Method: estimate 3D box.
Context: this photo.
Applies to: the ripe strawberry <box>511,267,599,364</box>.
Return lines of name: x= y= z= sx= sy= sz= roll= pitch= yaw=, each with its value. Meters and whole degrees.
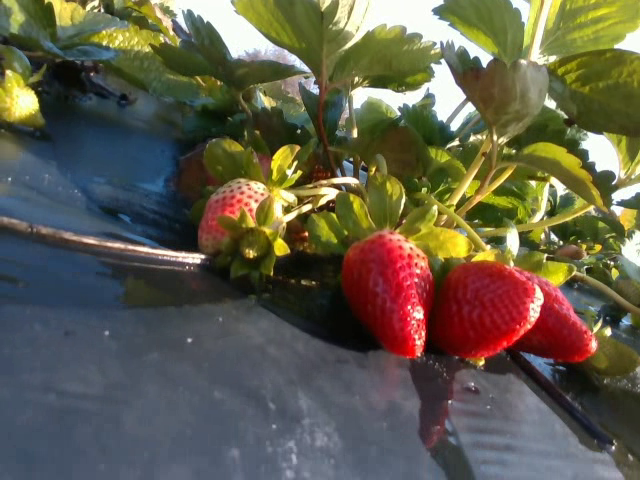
ripe strawberry: x=0.073 y=0.028 z=0.197 sx=0.035 sy=0.034 sz=0.041 roll=14 pitch=3 yaw=-27

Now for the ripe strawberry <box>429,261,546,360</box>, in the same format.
ripe strawberry: x=0.050 y=0.018 z=0.182 sx=0.030 sy=0.037 sz=0.039 roll=26 pitch=-15 yaw=-18

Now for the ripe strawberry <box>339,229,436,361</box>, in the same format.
ripe strawberry: x=0.022 y=0.014 z=0.175 sx=0.031 sy=0.023 sz=0.046 roll=17 pitch=37 yaw=-24
